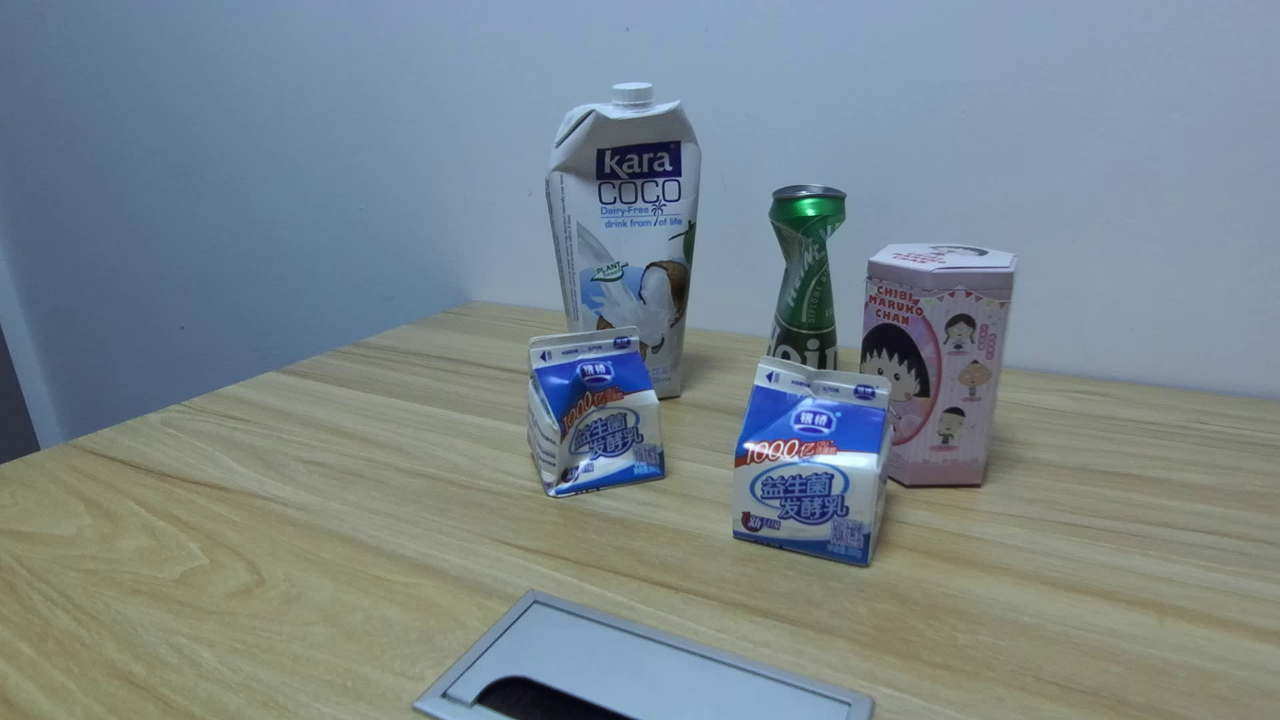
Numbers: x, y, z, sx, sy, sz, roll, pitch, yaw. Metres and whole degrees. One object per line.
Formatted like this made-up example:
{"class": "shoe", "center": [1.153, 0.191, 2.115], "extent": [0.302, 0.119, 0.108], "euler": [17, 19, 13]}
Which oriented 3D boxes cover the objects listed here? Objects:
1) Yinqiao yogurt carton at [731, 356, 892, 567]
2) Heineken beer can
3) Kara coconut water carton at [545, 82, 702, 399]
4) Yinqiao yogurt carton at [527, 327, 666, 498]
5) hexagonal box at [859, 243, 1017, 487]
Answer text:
{"class": "Yinqiao yogurt carton", "center": [0.096, 0.046, 0.380], "extent": [0.075, 0.092, 0.074], "euler": [8, 21, 23]}
{"class": "Heineken beer can", "center": [0.130, -0.050, 0.555], "extent": [0.065, 0.164, 0.078], "euler": [13, 25, 38]}
{"class": "Kara coconut water carton", "center": [-0.011, -0.086, 0.545], "extent": [0.115, 0.238, 0.069], "euler": [-8, 22, -20]}
{"class": "Yinqiao yogurt carton", "center": [-0.031, 0.025, 0.444], "extent": [0.077, 0.094, 0.071], "euler": [-9, 25, -16]}
{"class": "hexagonal box", "center": [0.182, 0.002, 0.442], "extent": [0.084, 0.136, 0.091], "euler": [-11, 21, -29]}
